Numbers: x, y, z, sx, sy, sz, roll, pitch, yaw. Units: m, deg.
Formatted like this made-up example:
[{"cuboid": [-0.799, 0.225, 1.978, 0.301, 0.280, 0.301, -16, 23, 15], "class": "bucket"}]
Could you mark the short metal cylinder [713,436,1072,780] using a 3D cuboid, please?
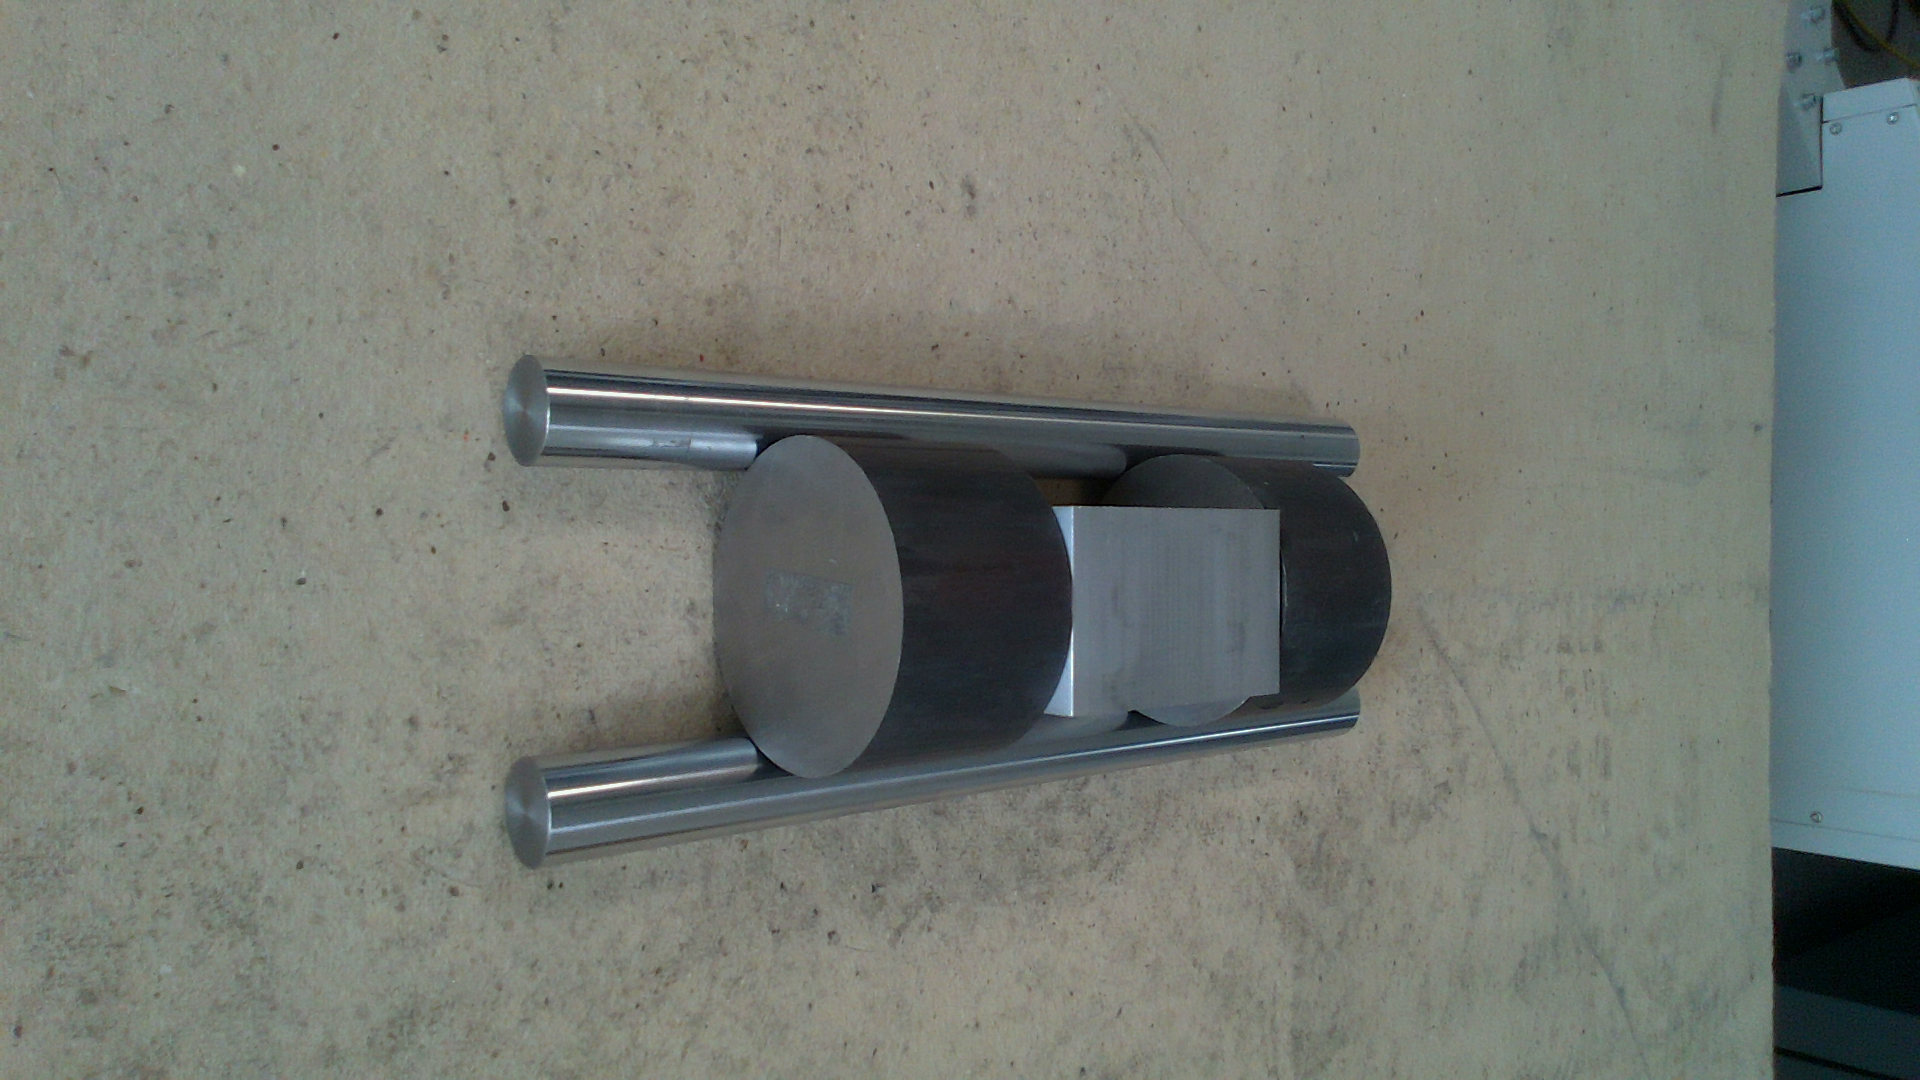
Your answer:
[{"cuboid": [-0.018, 0.015, 0.337, 0.050, 0.080, 0.080, -1, 91, -40], "class": "short metal cylinder"}]

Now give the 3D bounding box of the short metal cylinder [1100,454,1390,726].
[{"cuboid": [0.083, 0.014, 0.421, 0.050, 0.080, 0.080, -1, 91, -40], "class": "short metal cylinder"}]

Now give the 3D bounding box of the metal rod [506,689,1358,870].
[{"cuboid": [0.019, 0.060, 0.405, 0.301, 0.025, 0.025, -1, 91, -40], "class": "metal rod"}]

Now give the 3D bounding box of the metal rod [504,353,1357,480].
[{"cuboid": [0.018, -0.031, 0.404, 0.301, 0.025, 0.025, -1, 91, -40], "class": "metal rod"}]

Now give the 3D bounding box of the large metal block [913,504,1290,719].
[{"cuboid": [0.033, 0.017, 0.377, 0.080, 0.080, 0.050, 0, 90, -40], "class": "large metal block"}]
